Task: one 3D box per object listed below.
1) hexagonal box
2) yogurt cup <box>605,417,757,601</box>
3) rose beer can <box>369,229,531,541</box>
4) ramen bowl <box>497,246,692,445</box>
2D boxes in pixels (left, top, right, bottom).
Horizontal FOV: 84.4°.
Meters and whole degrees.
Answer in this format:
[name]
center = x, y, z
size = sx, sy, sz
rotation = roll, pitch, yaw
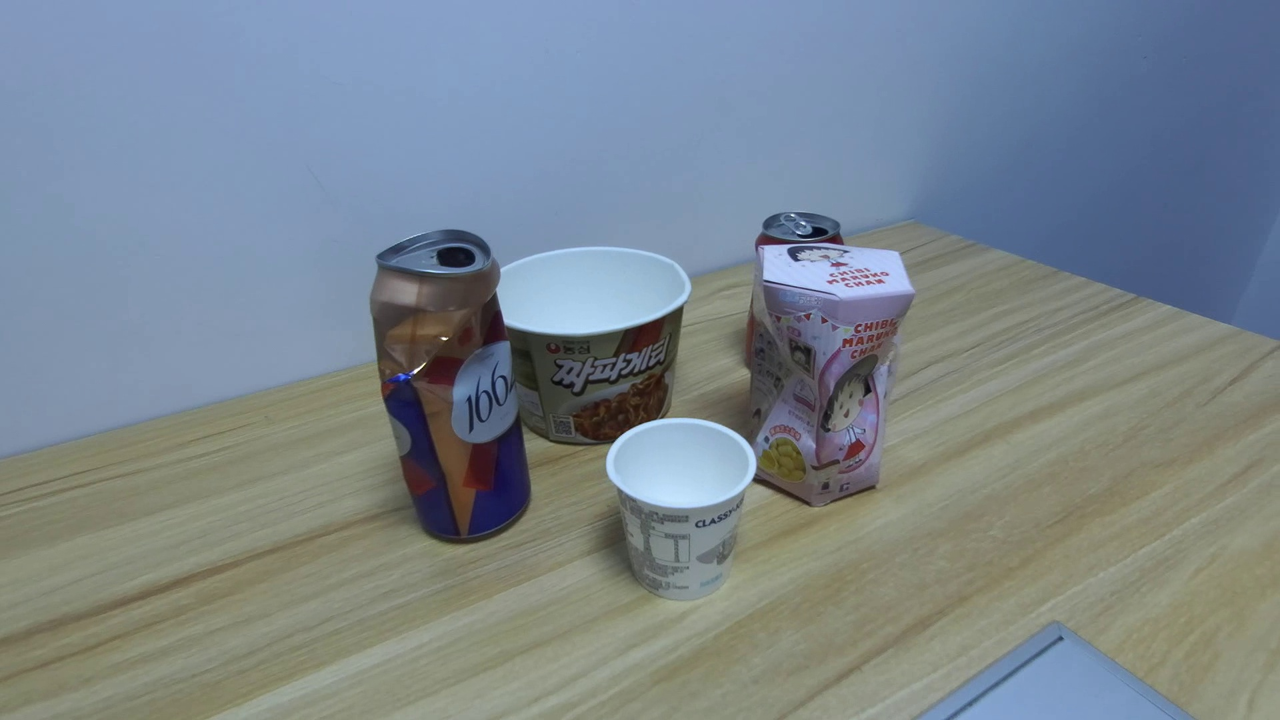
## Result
[hexagonal box]
center = 0.102, 0.008, 0.407
size = 0.093, 0.135, 0.089
rotation = 17, 34, 28
[yogurt cup]
center = 0.021, 0.077, 0.355
size = 0.072, 0.068, 0.072
rotation = -1, 30, 1
[rose beer can]
center = -0.099, 0.017, 0.378
size = 0.068, 0.162, 0.073
rotation = -11, 31, -17
[ramen bowl]
center = -0.035, -0.009, 0.486
size = 0.140, 0.095, 0.140
rotation = -1, 28, 1
